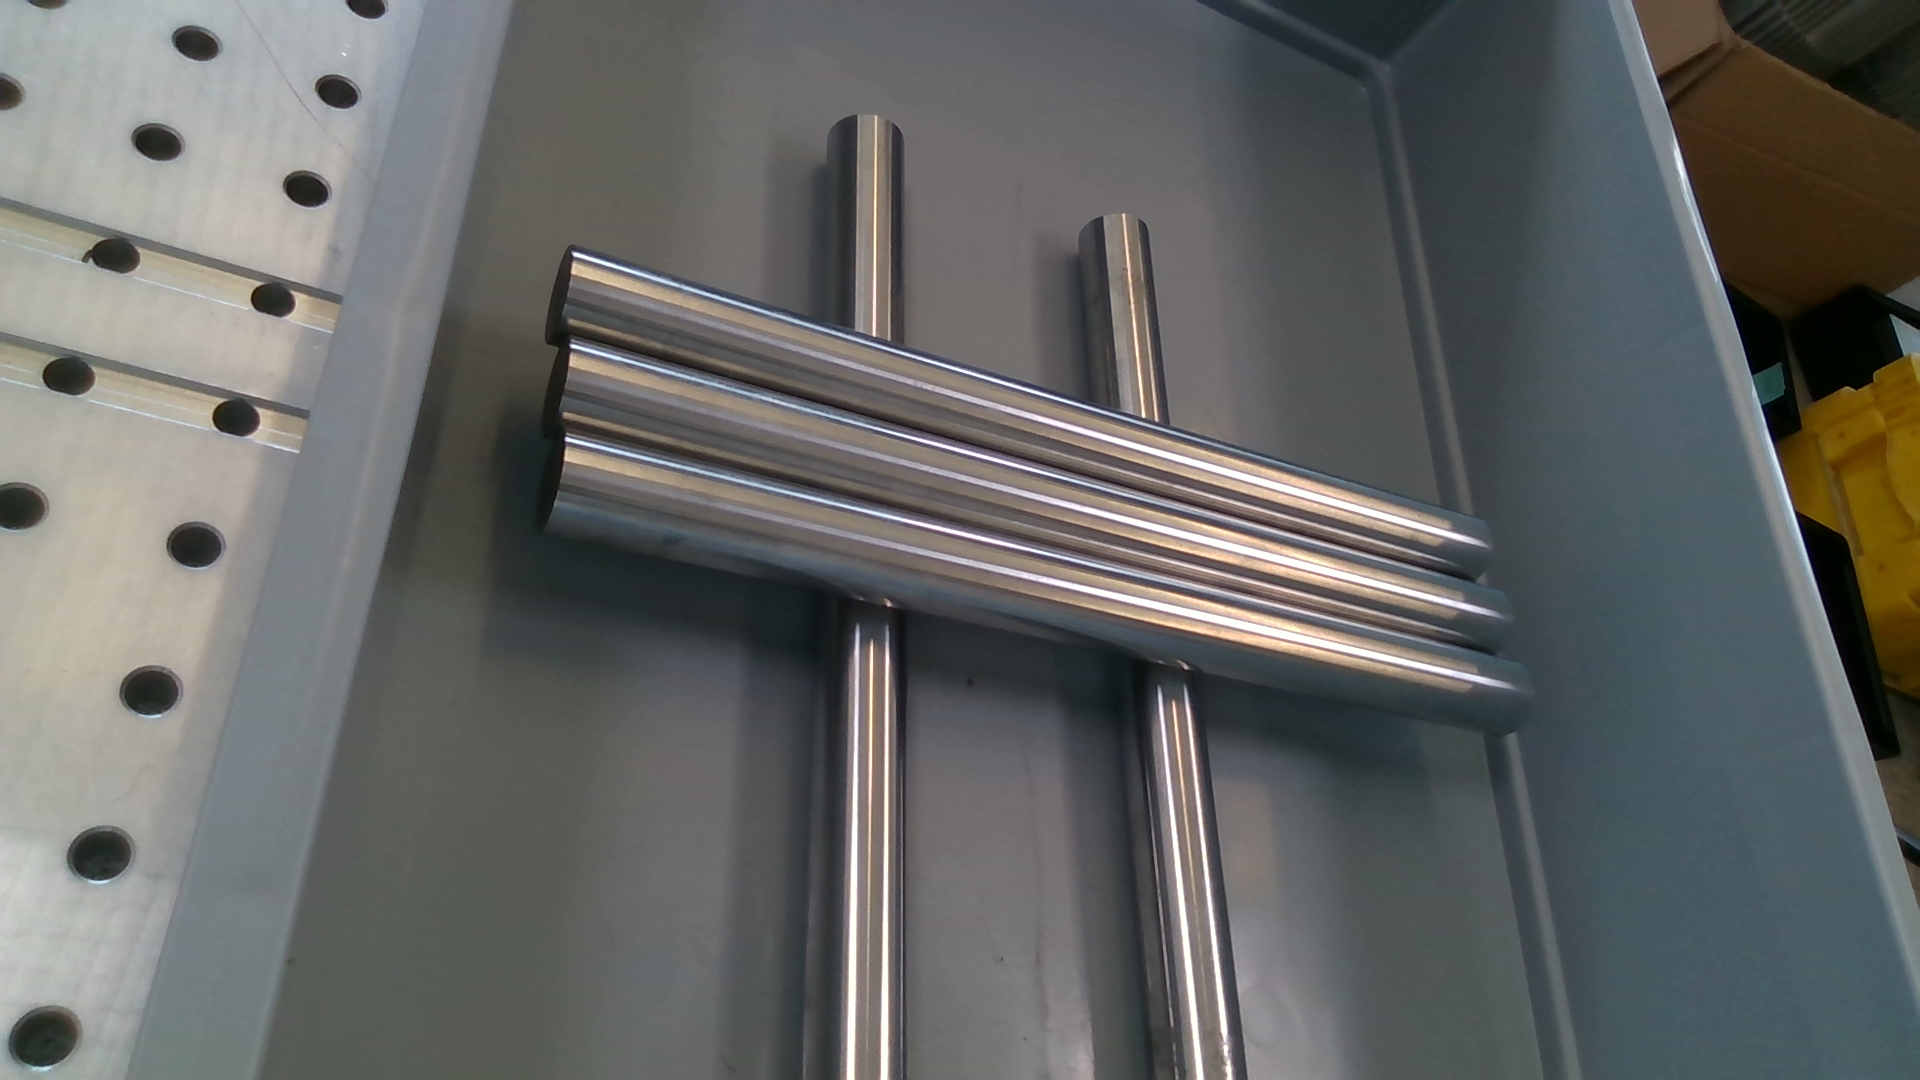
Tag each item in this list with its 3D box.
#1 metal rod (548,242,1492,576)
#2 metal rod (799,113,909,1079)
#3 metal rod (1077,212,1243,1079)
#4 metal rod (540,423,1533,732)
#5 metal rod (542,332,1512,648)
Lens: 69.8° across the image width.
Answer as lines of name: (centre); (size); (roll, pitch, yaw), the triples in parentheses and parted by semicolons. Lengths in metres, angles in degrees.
metal rod: (0.036, -0.028, 0.396); (0.300, 0.025, 0.025); (13, 59, -25)
metal rod: (-0.027, 0.005, 0.373); (0.025, 0.025, 0.299); (13, 59, -26)
metal rod: (0.057, 0.026, 0.414); (0.025, 0.025, 0.299); (13, 59, -26)
metal rod: (0.040, 0.017, 0.374); (0.300, 0.025, 0.025); (13, 59, -25)
metal rod: (0.038, -0.005, 0.385); (0.300, 0.025, 0.025); (13, 59, -25)
